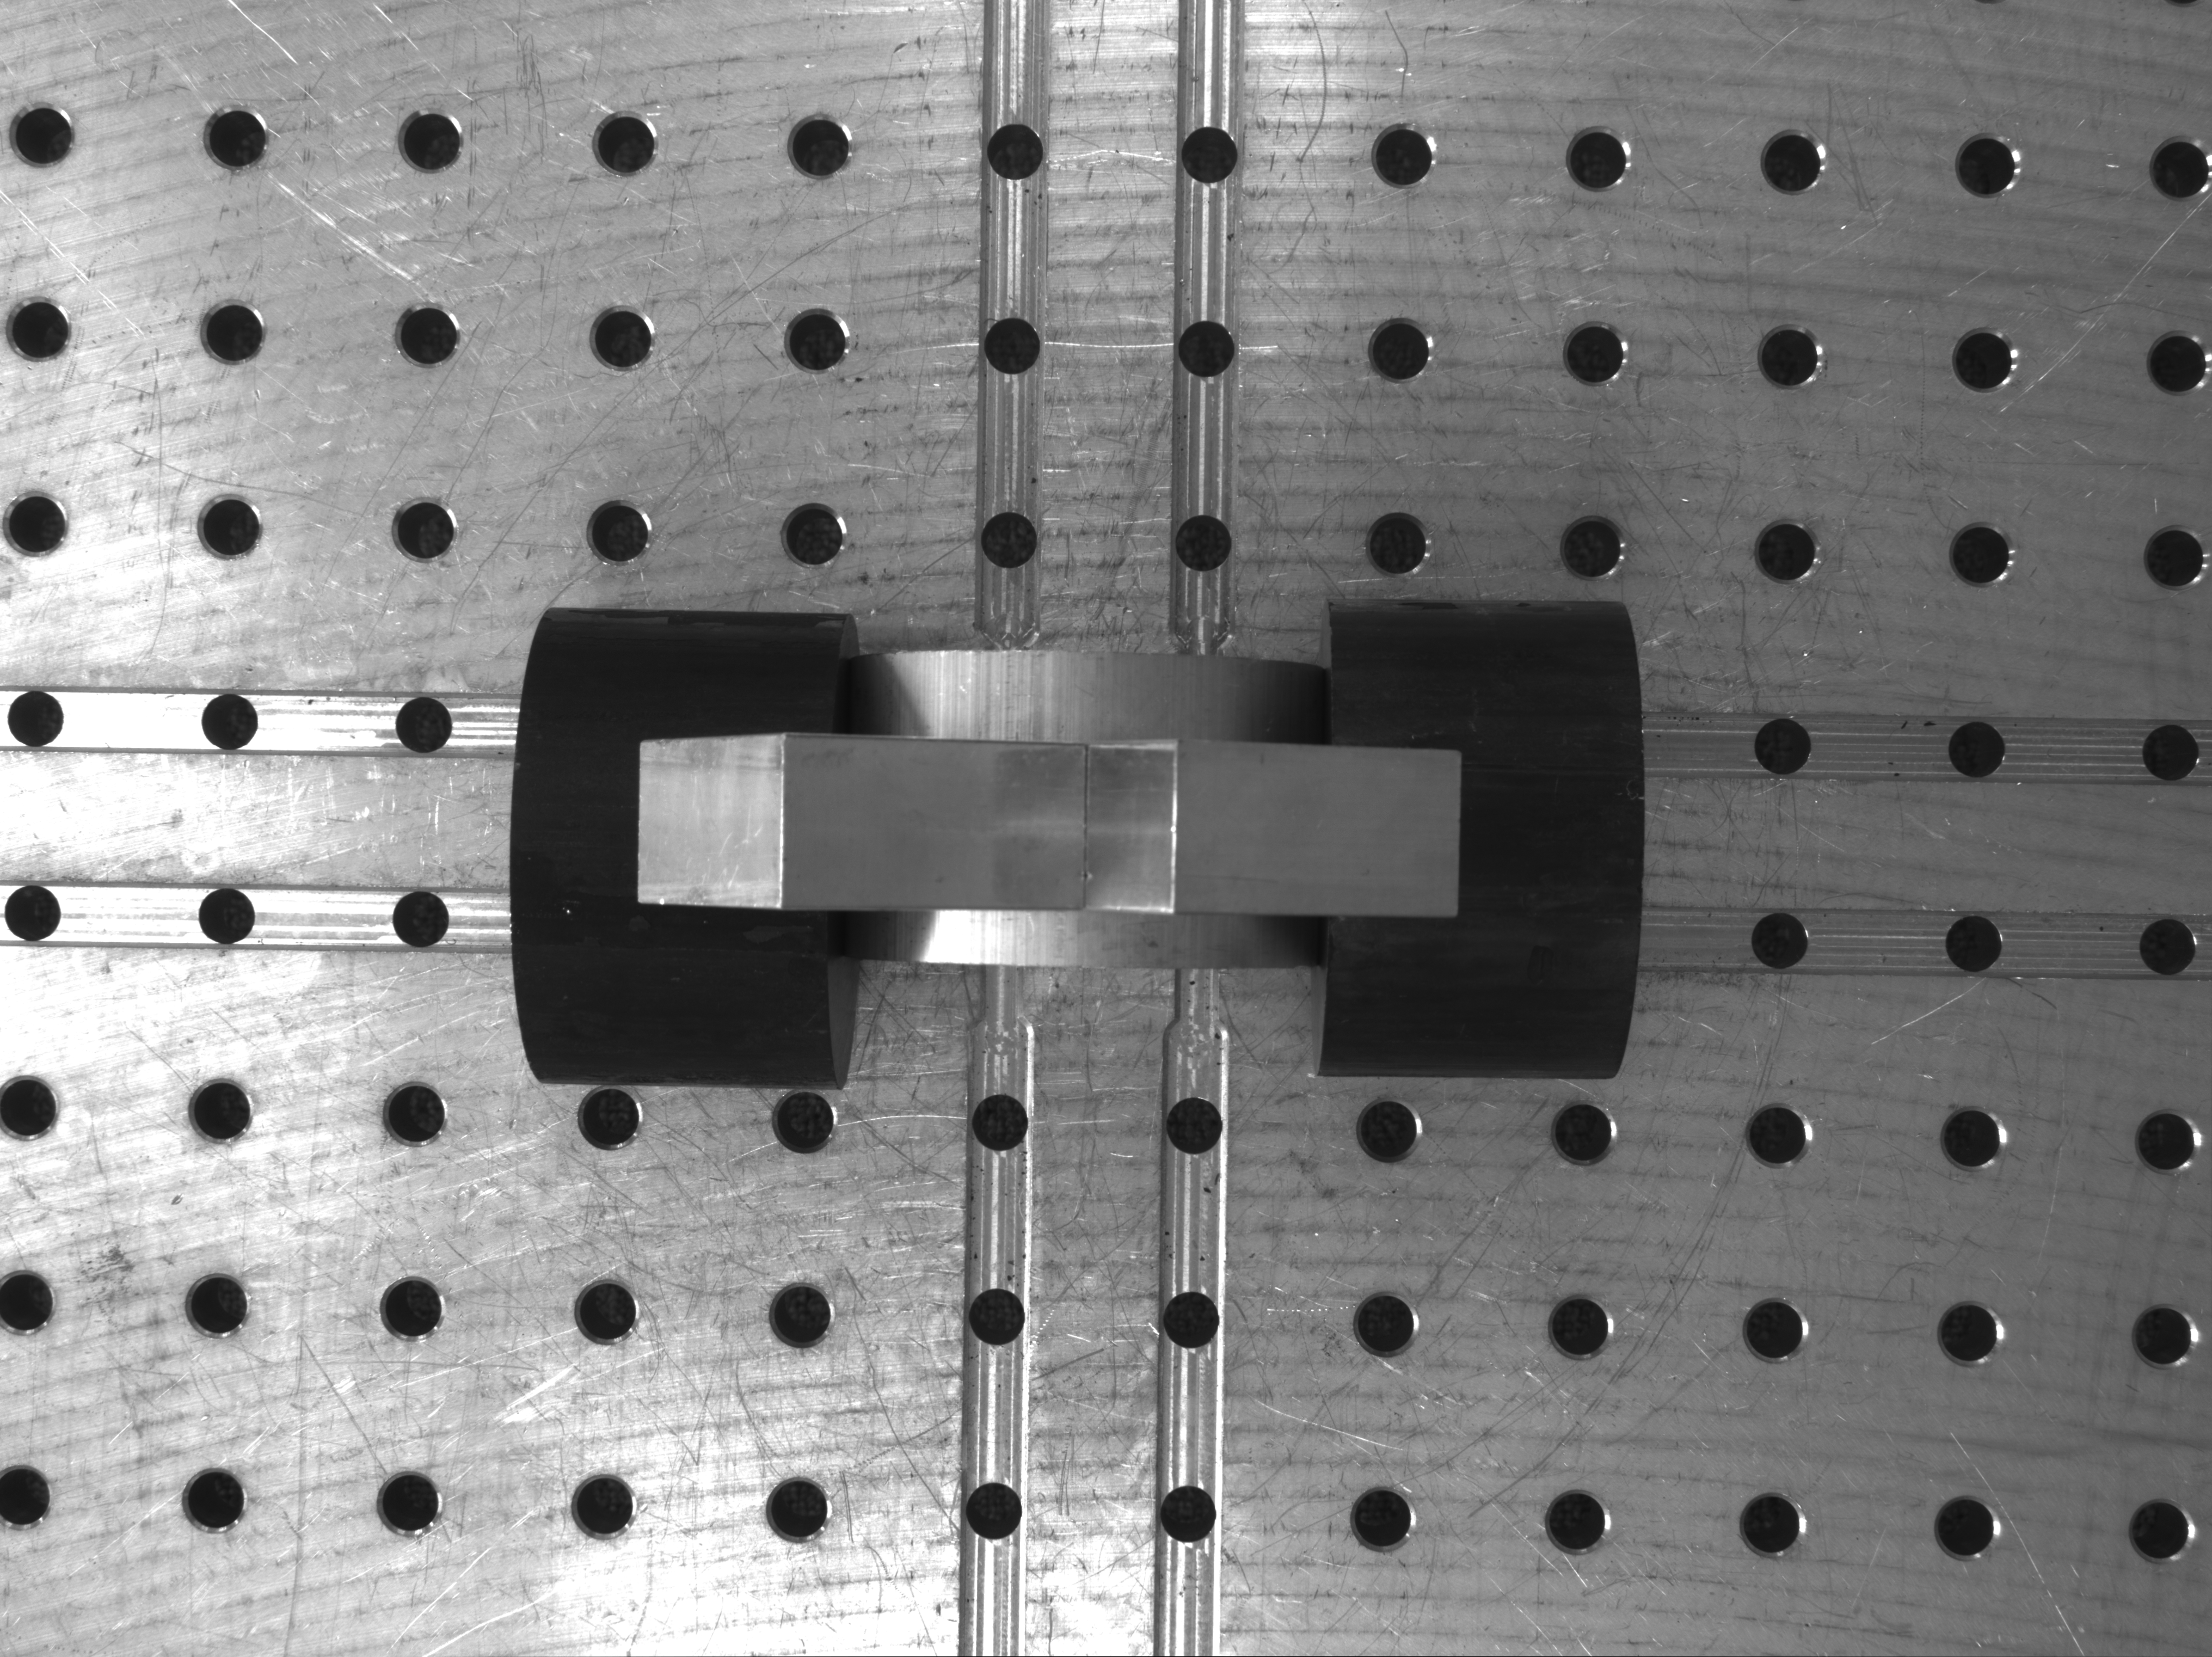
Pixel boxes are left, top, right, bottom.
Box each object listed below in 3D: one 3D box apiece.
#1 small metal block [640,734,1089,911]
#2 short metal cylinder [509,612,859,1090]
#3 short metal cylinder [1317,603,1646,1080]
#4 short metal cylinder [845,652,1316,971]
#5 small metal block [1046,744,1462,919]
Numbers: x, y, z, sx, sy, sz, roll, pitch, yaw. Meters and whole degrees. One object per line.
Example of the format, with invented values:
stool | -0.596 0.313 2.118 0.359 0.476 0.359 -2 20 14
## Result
small metal block | -0.037 -0.001 0.555 0.050 0.050 0.025 1 90 -31
short metal cylinder | -0.069 0.004 0.620 0.050 0.080 0.080 1 90 0
short metal cylinder | 0.061 0.002 0.620 0.050 0.080 0.080 1 90 1
short metal cylinder | -0.004 -0.003 0.621 0.080 0.080 0.050 1 90 0
small metal block | 0.019 0.001 0.559 0.050 0.050 0.025 1 90 -30
